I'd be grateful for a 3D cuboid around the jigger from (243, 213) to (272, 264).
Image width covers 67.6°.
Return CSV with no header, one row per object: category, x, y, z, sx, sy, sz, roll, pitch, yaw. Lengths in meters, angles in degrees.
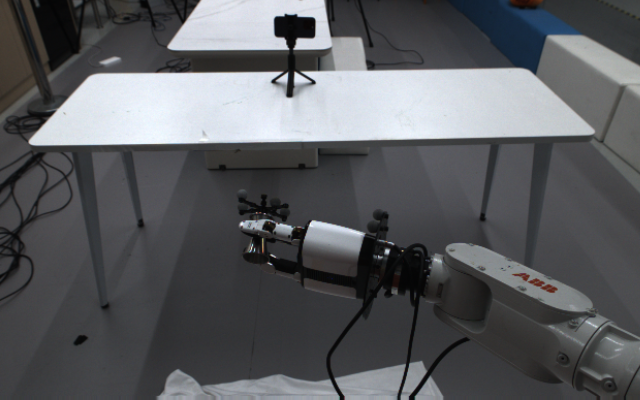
jigger,-0.095,0.056,0.742,0.043,0.043,0.071,4,60,2
